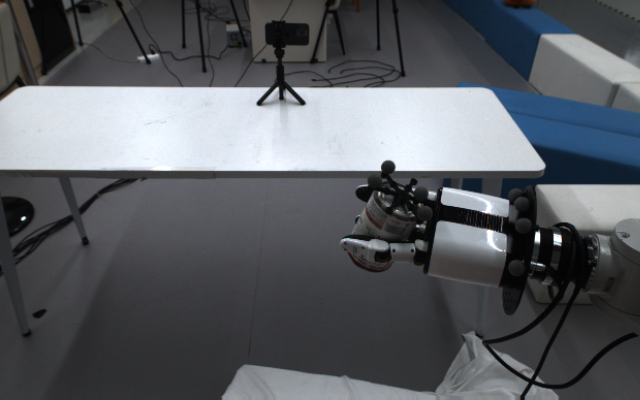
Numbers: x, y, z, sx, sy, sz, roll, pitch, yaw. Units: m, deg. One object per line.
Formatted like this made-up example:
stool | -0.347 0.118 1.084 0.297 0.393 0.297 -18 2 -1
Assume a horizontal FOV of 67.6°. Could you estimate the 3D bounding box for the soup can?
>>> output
soup can | 0.082 0.034 0.618 0.067 0.101 0.067 14 39 -12
